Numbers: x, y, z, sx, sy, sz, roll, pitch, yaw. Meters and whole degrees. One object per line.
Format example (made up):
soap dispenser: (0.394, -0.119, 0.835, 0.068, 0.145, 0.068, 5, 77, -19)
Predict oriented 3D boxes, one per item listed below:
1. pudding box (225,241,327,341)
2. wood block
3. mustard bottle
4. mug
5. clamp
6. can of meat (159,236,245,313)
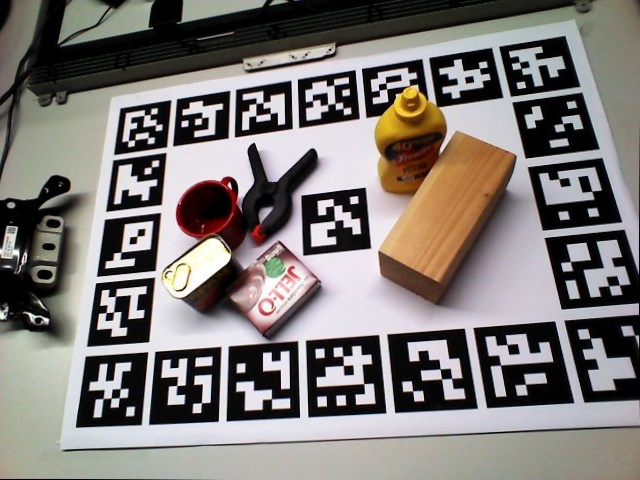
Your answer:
pudding box: (-0.061, 0.072, 0.729, 0.113, 0.039, 0.090, -42, 67, -9)
wood block: (0.180, -0.025, 0.694, 0.090, 0.091, 0.205, 30, 75, 23)
mustard bottle: (0.125, -0.137, 0.691, 0.096, 0.191, 0.058, -11, 67, 8)
mug: (-0.151, -0.037, 0.794, 0.093, 0.081, 0.116, 15, 73, 17)
clamp: (-0.071, -0.081, 0.800, 0.122, 0.036, 0.164, 13, 73, 15)
can of meat: (-0.163, 0.052, 0.728, 0.102, 0.084, 0.058, -34, 67, -4)
